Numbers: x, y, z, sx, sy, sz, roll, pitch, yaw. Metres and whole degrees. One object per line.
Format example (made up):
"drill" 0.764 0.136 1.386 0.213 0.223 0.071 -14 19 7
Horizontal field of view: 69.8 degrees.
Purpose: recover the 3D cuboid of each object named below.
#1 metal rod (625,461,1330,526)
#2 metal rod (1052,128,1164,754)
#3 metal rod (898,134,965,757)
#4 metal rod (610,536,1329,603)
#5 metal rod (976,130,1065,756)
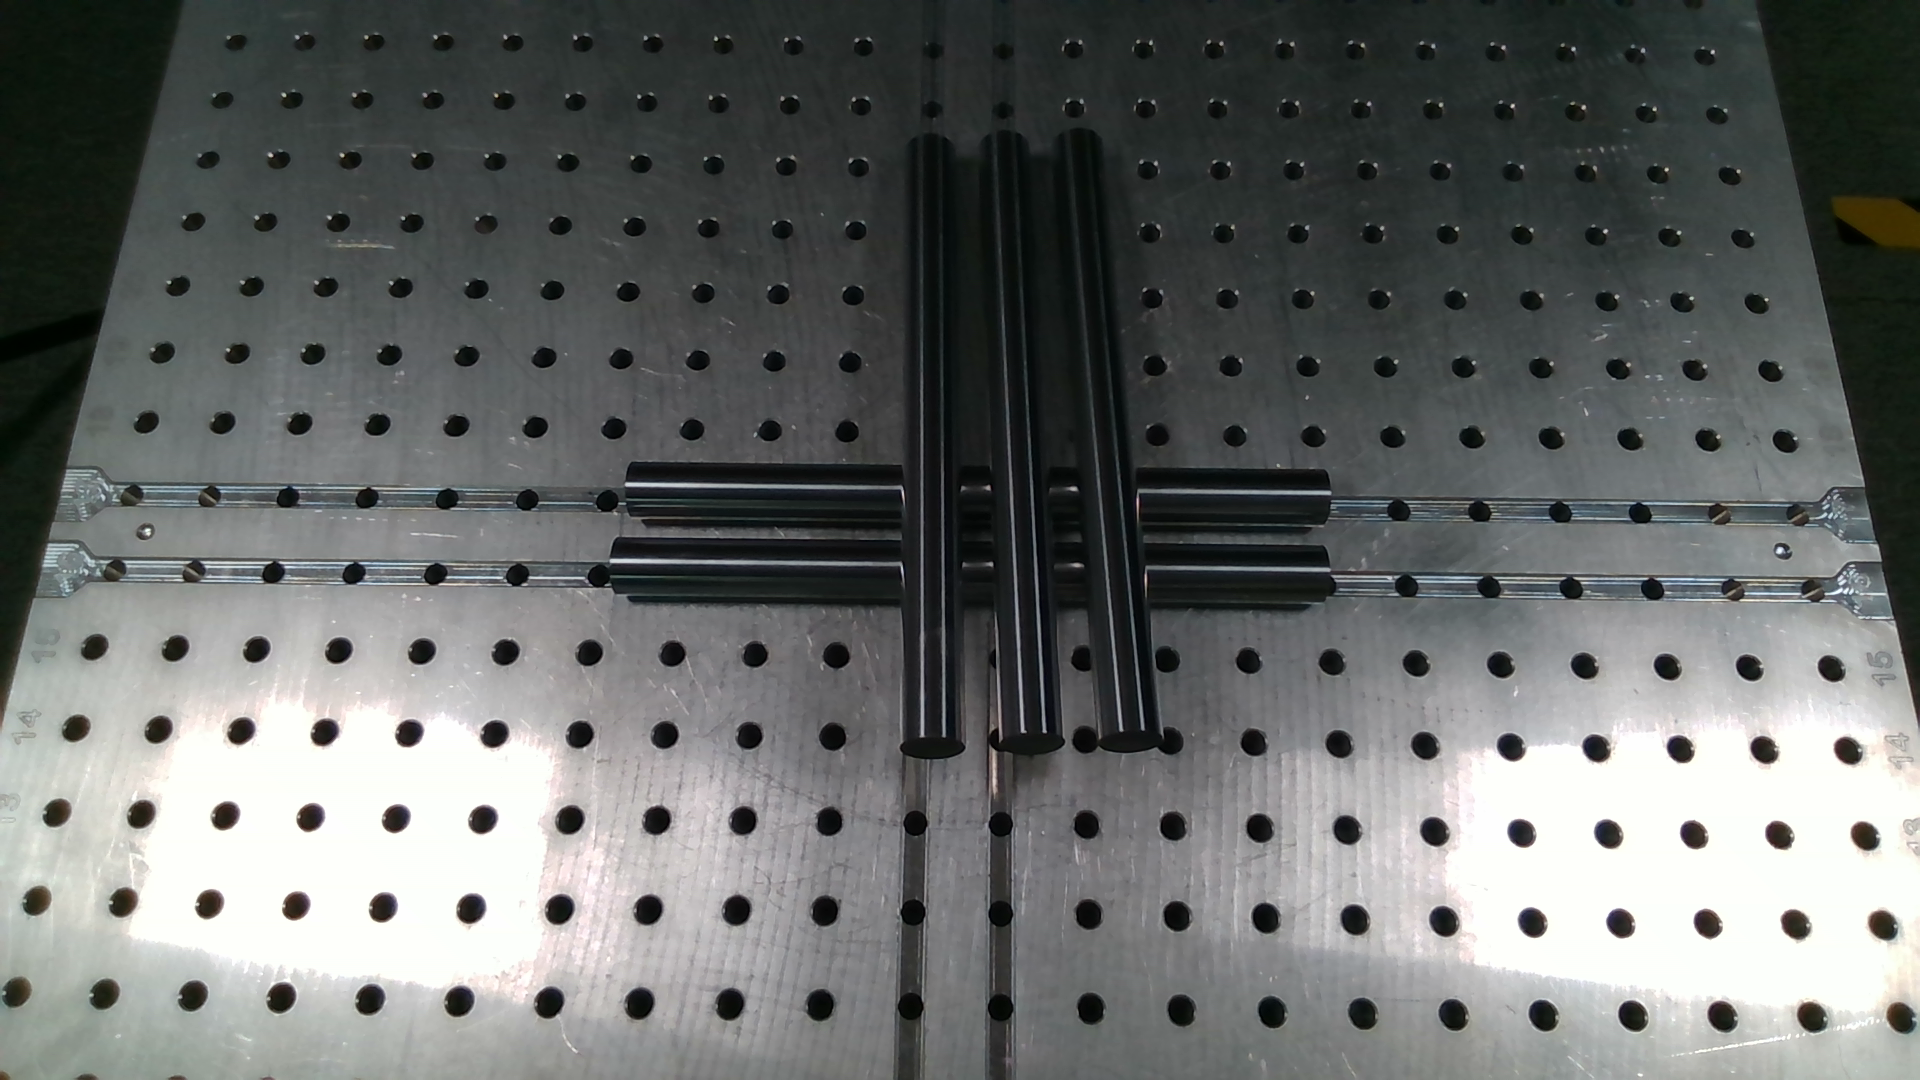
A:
"metal rod" 0.007 -0.020 0.598 0.300 0.025 0.025 1 70 0
"metal rod" 0.060 -0.056 0.589 0.025 0.025 0.299 -2 62 -1
"metal rod" -0.013 -0.053 0.587 0.025 0.025 0.299 -1 62 0
"metal rod" 0.004 0.013 0.586 0.300 0.025 0.025 1 70 0
"metal rod" 0.024 -0.055 0.588 0.025 0.025 0.299 -1 62 0
